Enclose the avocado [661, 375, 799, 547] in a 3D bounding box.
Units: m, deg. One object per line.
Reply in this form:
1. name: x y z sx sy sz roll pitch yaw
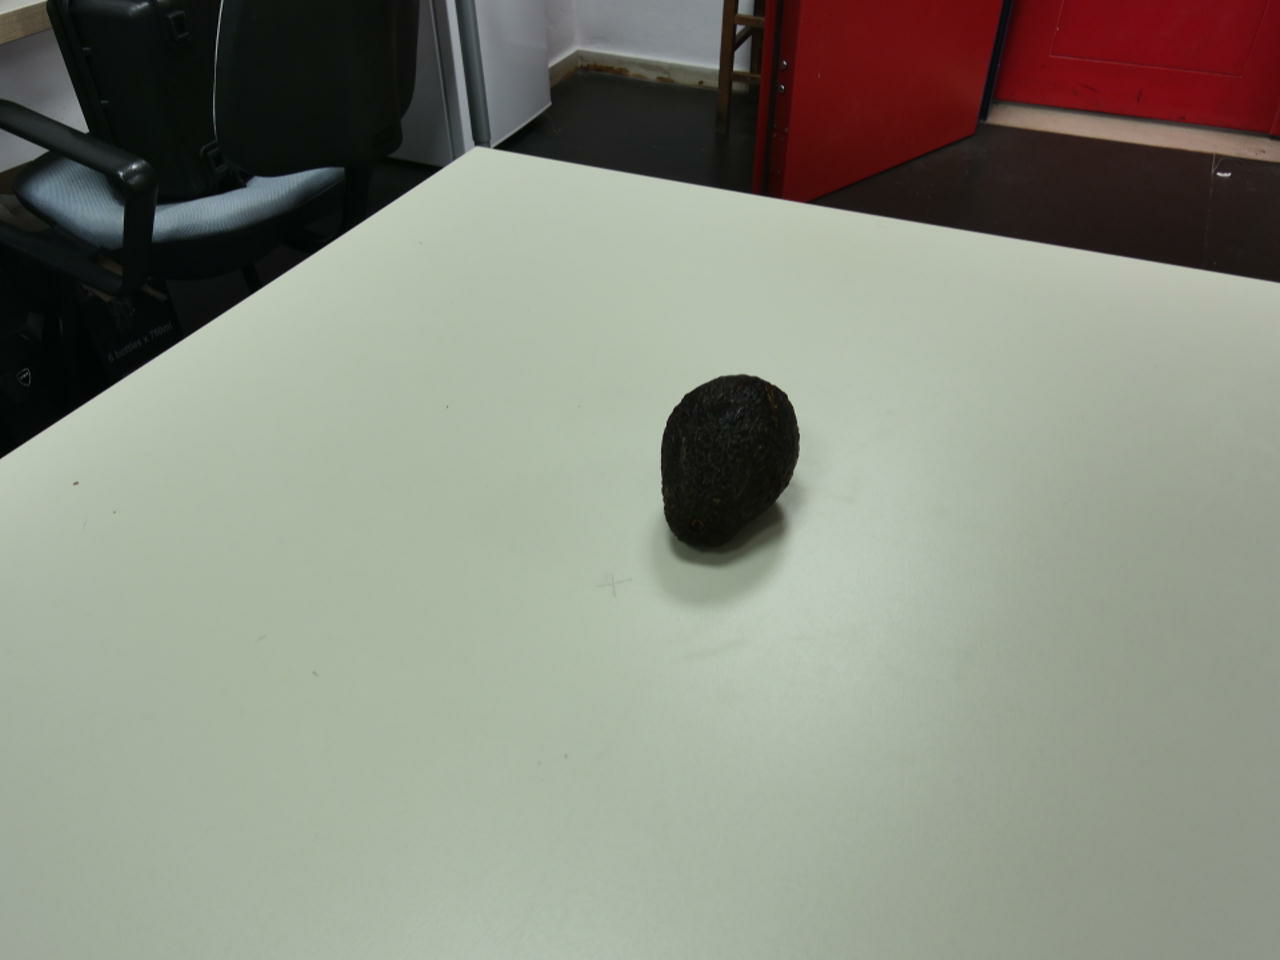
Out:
1. avocado: 0.042 -0.015 0.511 0.090 0.069 0.070 -26 45 -30
